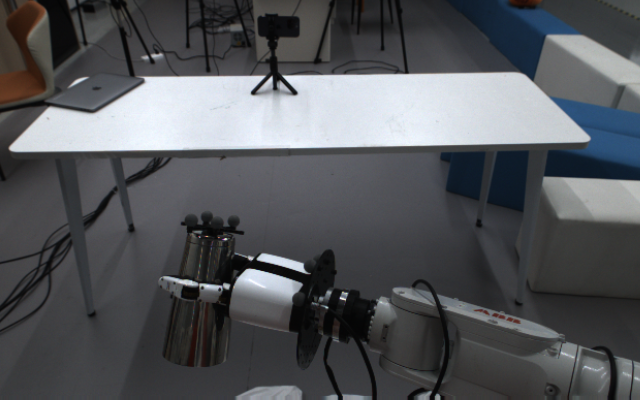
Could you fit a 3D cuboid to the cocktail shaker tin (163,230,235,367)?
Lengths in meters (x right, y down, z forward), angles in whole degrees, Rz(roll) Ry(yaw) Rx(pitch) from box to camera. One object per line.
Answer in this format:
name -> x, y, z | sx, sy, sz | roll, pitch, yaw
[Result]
cocktail shaker tin -> -0.161, 0.132, 0.673 | 0.093, 0.170, 0.093 | 8, 3, 0
